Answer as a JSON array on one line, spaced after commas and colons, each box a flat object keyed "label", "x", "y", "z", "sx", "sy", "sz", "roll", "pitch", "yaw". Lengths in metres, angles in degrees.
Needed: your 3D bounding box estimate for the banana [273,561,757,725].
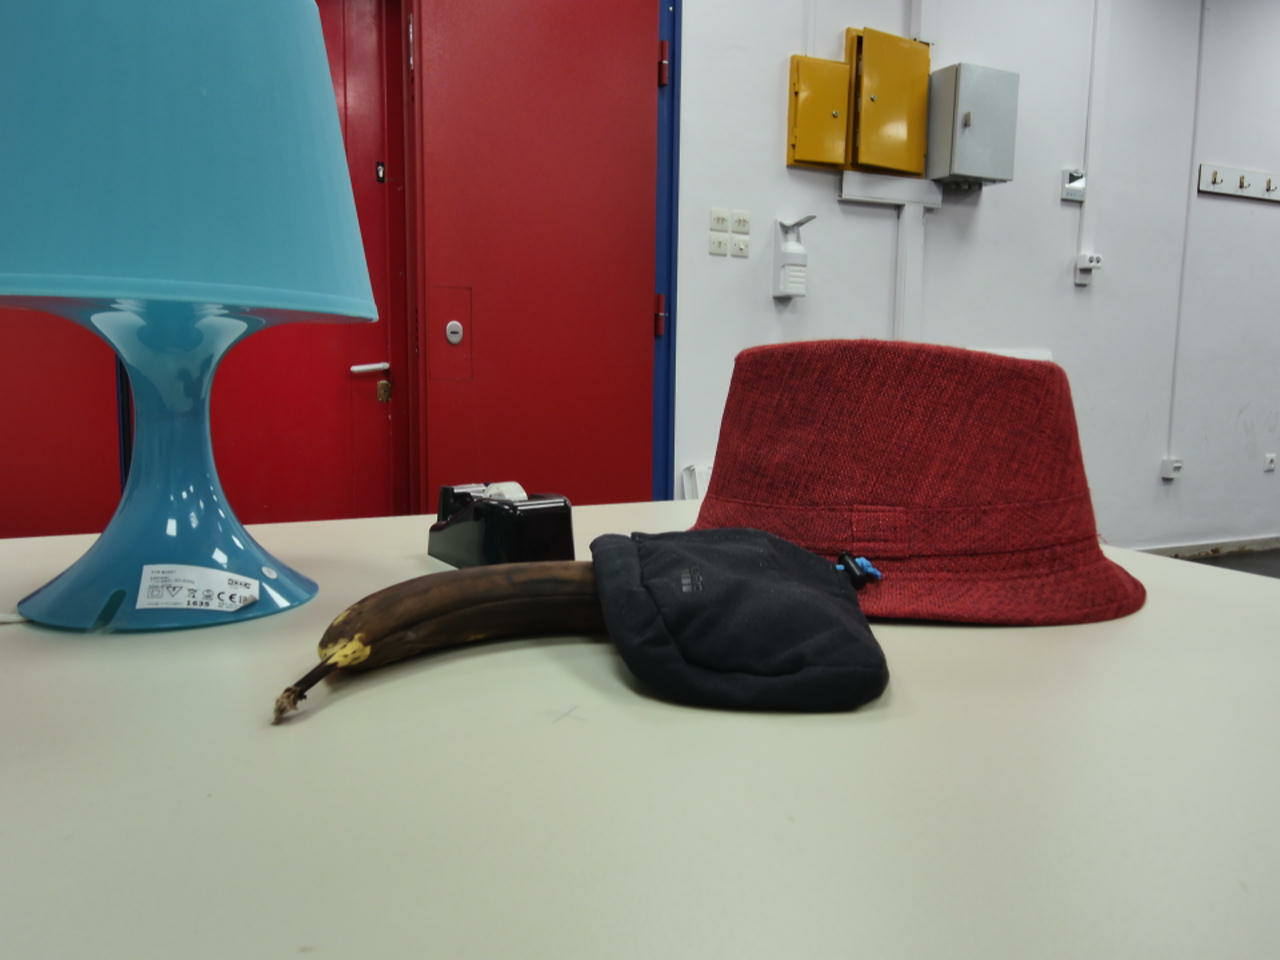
[{"label": "banana", "x": -0.051, "y": 0.055, "z": 0.402, "sx": 0.188, "sy": 0.033, "sz": 0.091, "roll": -2, "pitch": 4, "yaw": -25}]
